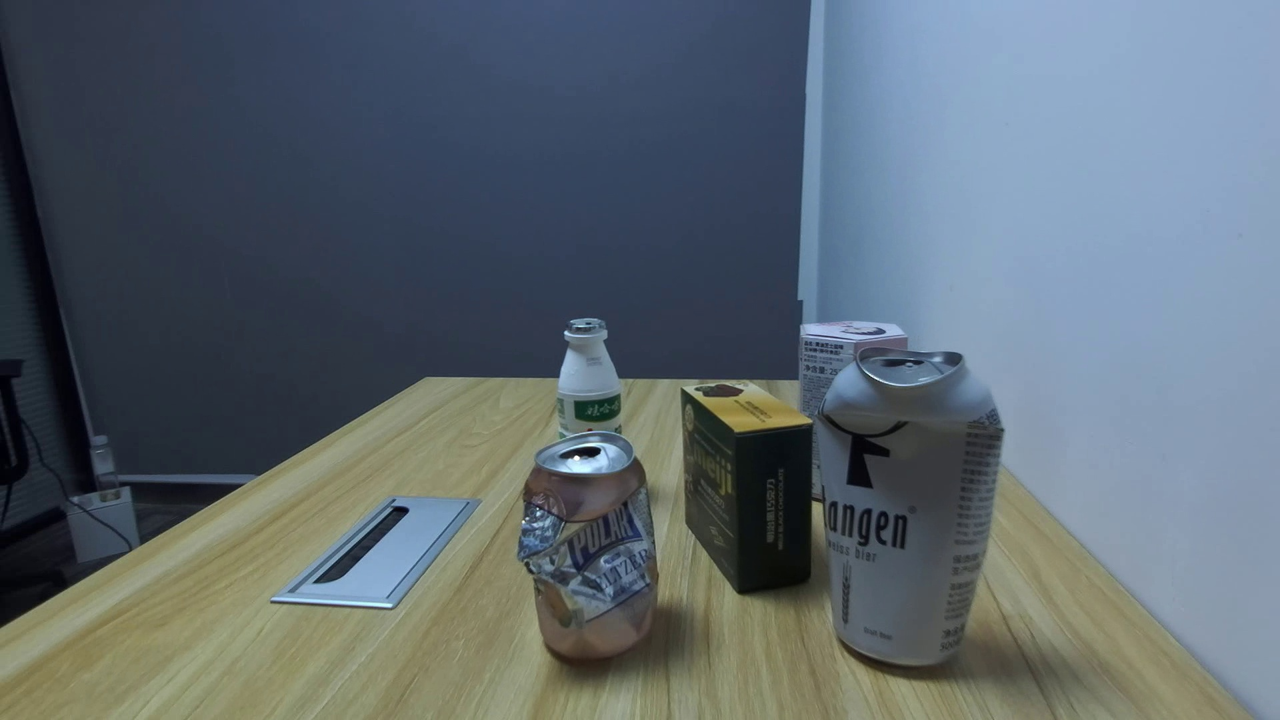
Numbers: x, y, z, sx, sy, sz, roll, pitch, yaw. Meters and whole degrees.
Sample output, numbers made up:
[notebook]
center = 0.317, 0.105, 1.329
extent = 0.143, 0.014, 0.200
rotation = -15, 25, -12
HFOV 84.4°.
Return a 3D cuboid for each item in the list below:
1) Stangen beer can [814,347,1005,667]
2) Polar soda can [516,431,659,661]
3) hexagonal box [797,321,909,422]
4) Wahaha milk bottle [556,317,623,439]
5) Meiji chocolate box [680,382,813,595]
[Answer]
[Stangen beer can]
center = 0.136, 0.076, 0.369
extent = 0.077, 0.162, 0.065
rotation = -4, 14, -9
[Polar soda can]
center = -0.028, 0.103, 0.389
extent = 0.070, 0.114, 0.074
rotation = -6, 9, 1
[hexagonal box]
center = 0.166, 0.040, 0.571
extent = 0.091, 0.136, 0.083
rotation = -5, 14, -20
[Wahaha milk bottle]
center = -0.042, 0.047, 0.570
extent = 0.053, 0.136, 0.053
rotation = 0, 14, 0
[Meiji chocolate box]
center = 0.070, 0.080, 0.479
extent = 0.056, 0.109, 0.109
rotation = -6, 14, -13
